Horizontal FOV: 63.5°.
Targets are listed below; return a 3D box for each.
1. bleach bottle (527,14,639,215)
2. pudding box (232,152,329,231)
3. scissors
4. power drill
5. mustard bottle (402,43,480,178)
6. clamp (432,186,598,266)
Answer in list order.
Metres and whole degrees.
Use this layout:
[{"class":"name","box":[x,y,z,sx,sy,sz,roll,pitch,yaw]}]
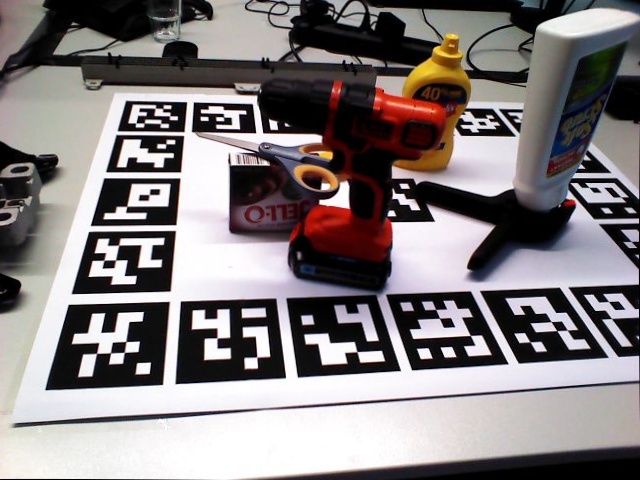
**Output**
[{"class":"bleach bottle","box":[0.308,-0.123,0.613,0.102,0.251,0.068,-18,42,-16]},{"class":"pudding box","box":[-0.049,-0.058,0.629,0.114,0.090,0.038,4,34,-5]},{"class":"scissors","box":[-0.052,-0.112,0.591,0.203,0.016,0.087,20,46,8]},{"class":"power drill","box":[0.026,-0.061,0.523,0.185,0.188,0.057,7,34,4]},{"class":"mustard bottle","box":[0.182,-0.180,0.733,0.096,0.192,0.058,10,40,2]},{"class":"clamp","box":[0.264,-0.034,0.665,0.202,0.037,0.165,-3,44,-14]}]
